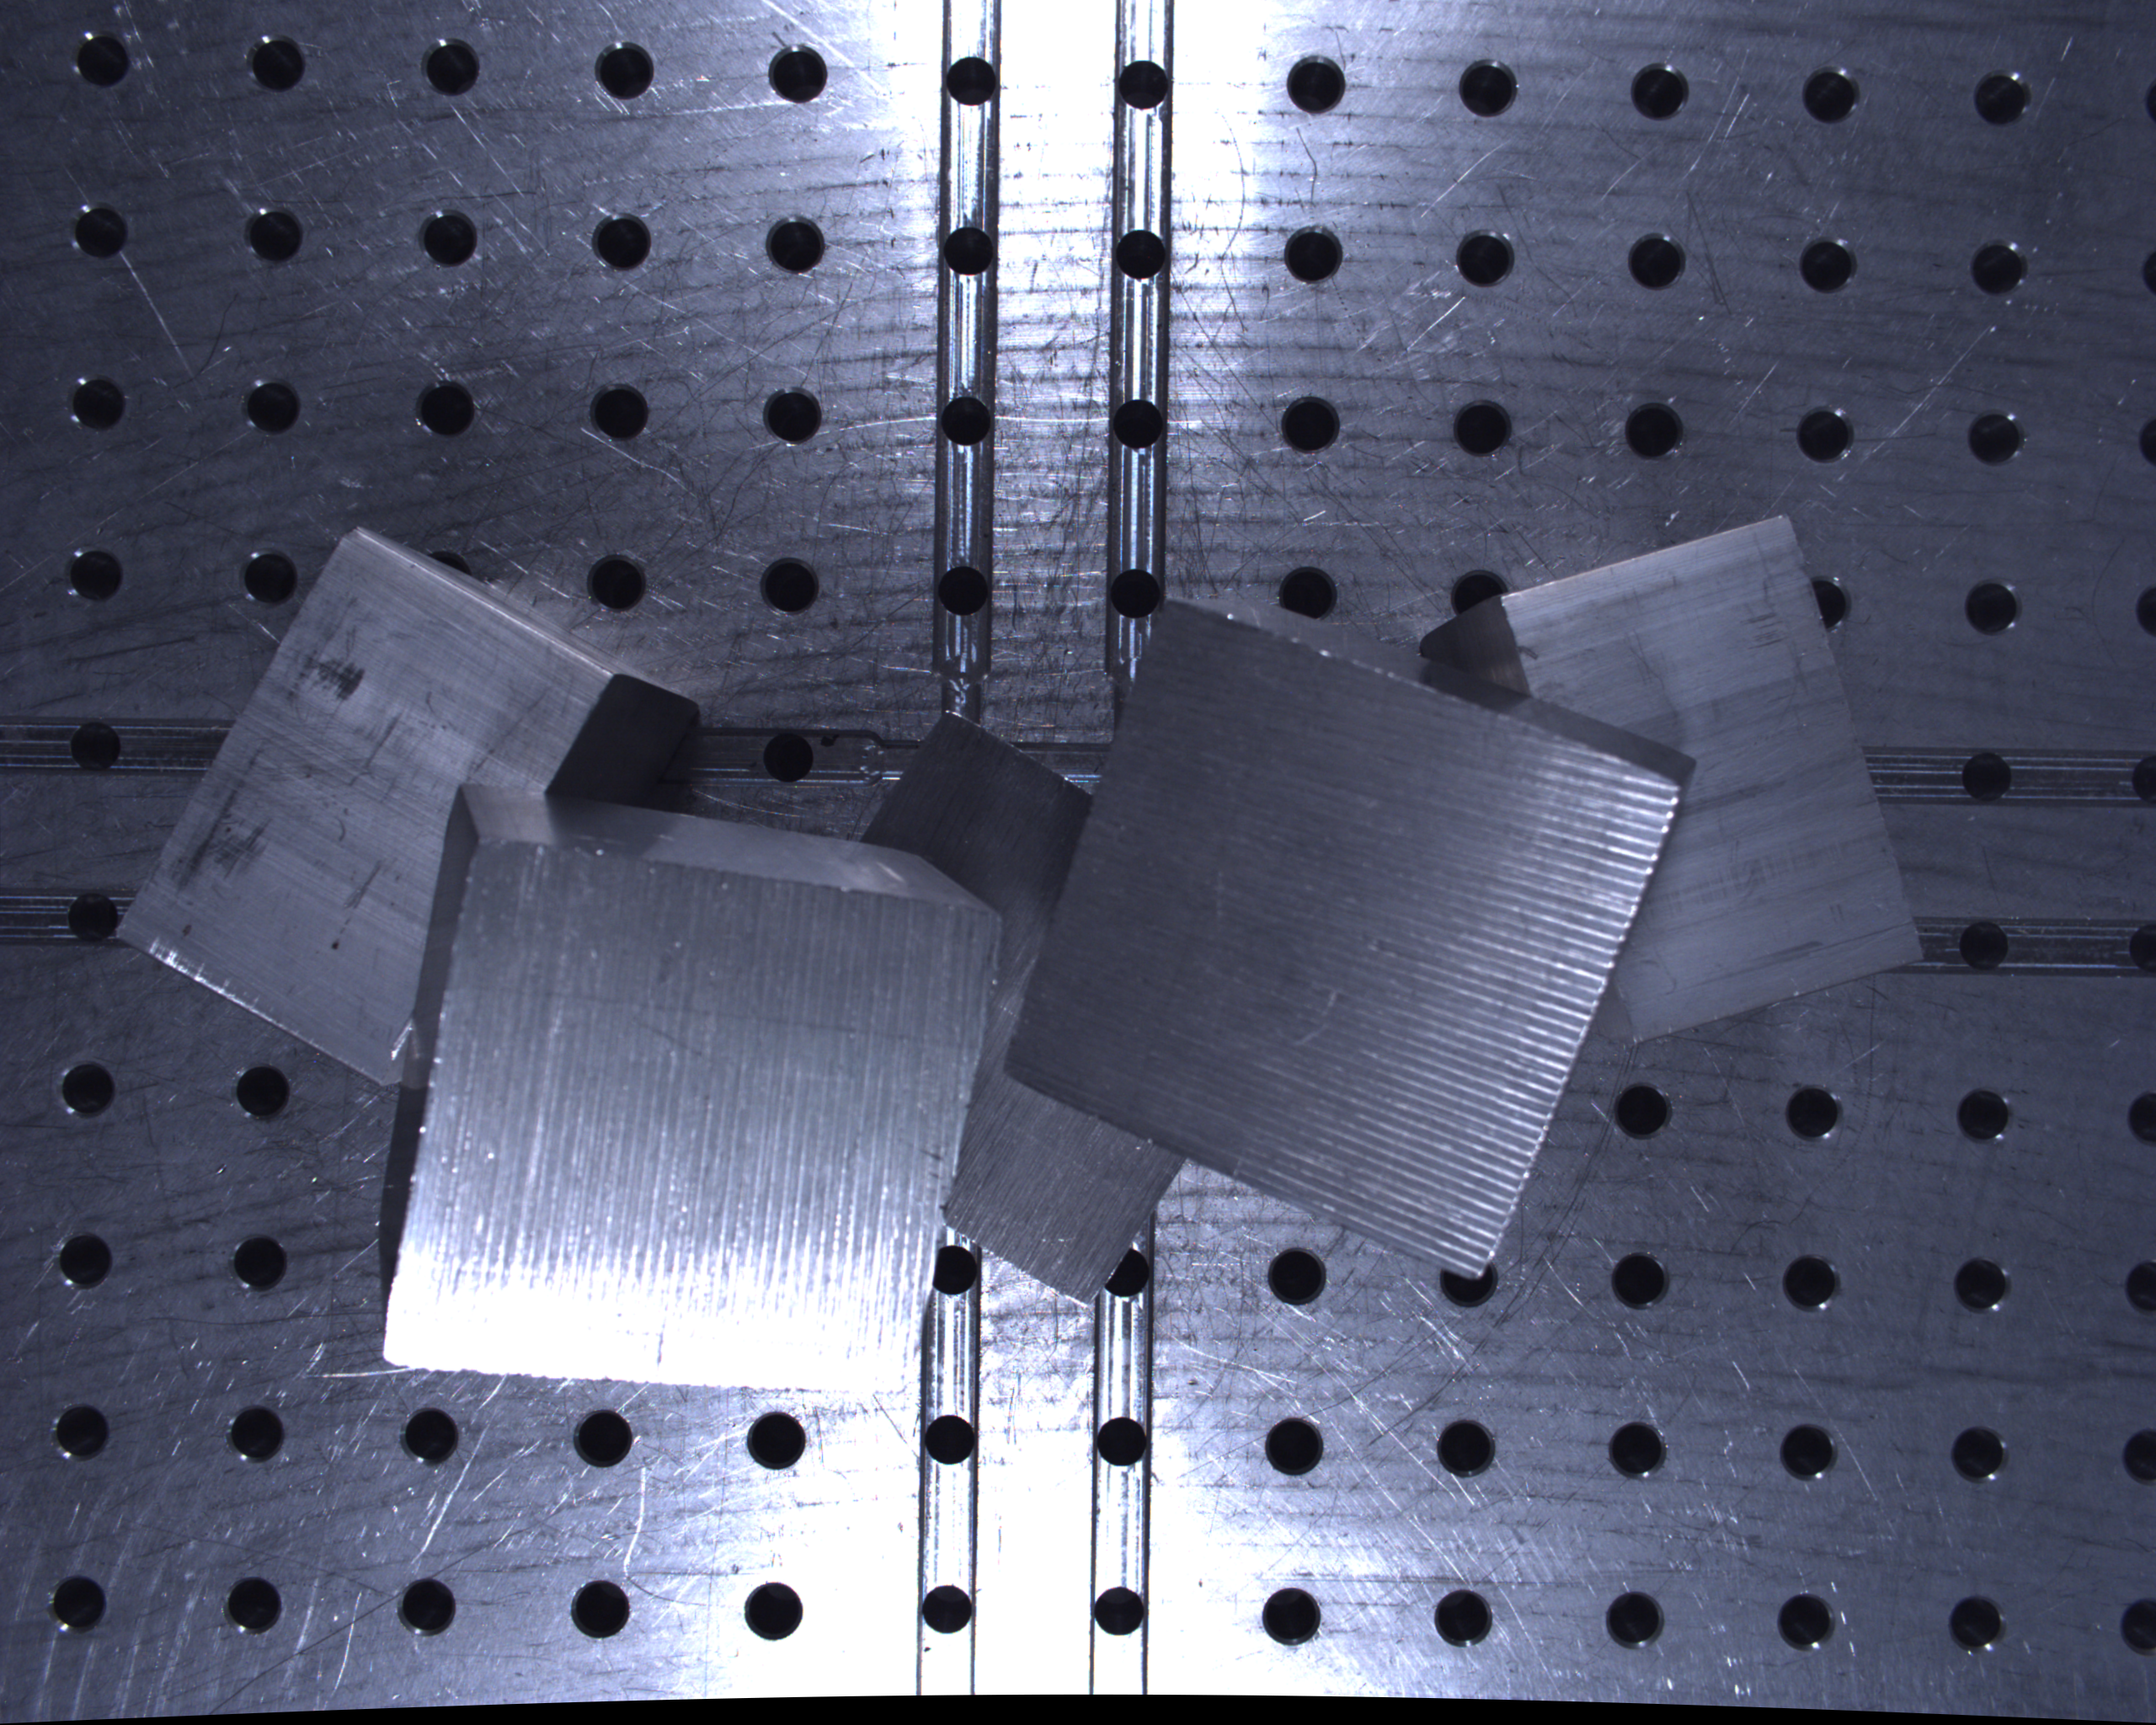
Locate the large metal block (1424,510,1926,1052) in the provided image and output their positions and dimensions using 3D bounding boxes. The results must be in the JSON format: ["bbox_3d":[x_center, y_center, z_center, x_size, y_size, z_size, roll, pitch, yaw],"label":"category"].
[{"bbox_3d":[0.106,-0.014,0.387,0.050,0.080,0.080,-16,90,0],"label":"large metal block"}]

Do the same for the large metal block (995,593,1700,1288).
[{"bbox_3d":[0.044,0.008,0.332,0.080,0.050,0.079,22,103,15],"label":"large metal block"}]

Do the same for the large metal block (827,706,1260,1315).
[{"bbox_3d":[-0.010,0.026,0.400,0.080,0.050,0.080,32,90,-1],"label":"large metal block"}]

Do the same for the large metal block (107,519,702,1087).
[{"bbox_3d":[-0.118,-0.010,0.384,0.050,0.080,0.080,30,90,-1],"label":"large metal block"}]

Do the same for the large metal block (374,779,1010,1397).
[{"bbox_3d":[-0.064,0.036,0.334,0.081,0.050,0.079,9,97,-21],"label":"large metal block"}]
